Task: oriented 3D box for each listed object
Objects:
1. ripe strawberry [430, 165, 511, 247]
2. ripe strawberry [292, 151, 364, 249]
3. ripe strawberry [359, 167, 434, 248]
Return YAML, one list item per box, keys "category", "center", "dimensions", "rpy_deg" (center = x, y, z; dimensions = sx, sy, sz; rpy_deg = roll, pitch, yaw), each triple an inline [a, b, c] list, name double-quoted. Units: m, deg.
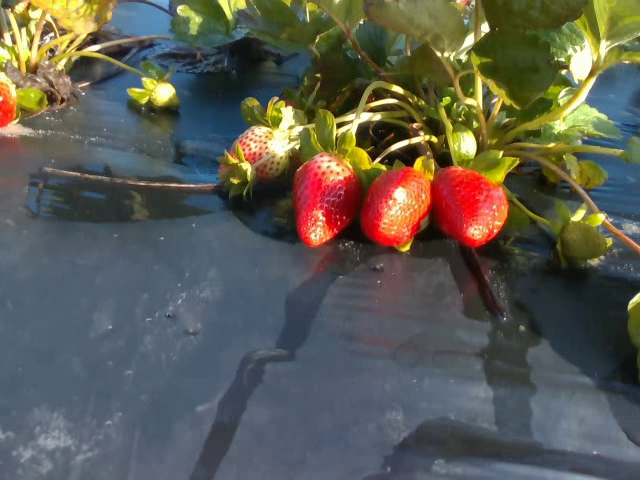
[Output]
- category: "ripe strawberry"
  center: [0.057, -0.008, 0.229]
  dimensions: [0.035, 0.034, 0.041]
  rpy_deg: [6, 19, 7]
- category: "ripe strawberry"
  center: [0.001, -0.017, 0.240]
  dimensions: [0.032, 0.045, 0.023]
  rpy_deg: [10, -34, 9]
- category: "ripe strawberry"
  center: [0.028, -0.015, 0.230]
  dimensions: [0.030, 0.037, 0.039]
  rpy_deg: [20, 8, 12]
